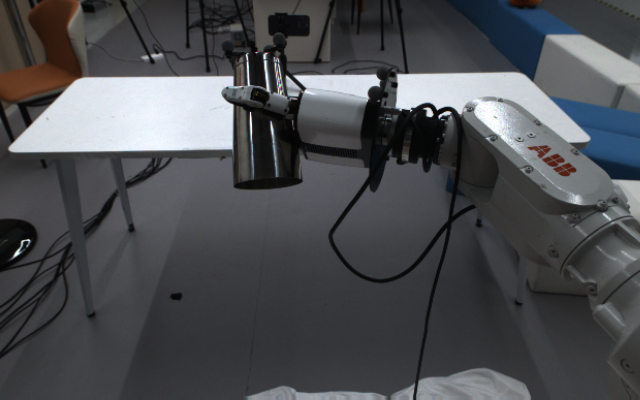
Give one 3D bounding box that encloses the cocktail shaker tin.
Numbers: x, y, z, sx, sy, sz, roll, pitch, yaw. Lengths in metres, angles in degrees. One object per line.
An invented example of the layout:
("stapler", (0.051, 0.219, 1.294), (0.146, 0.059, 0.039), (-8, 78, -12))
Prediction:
("cocktail shaker tin", (-0.077, -0.105, 0.651), (0.093, 0.170, 0.093), (-6, -7, -1))
